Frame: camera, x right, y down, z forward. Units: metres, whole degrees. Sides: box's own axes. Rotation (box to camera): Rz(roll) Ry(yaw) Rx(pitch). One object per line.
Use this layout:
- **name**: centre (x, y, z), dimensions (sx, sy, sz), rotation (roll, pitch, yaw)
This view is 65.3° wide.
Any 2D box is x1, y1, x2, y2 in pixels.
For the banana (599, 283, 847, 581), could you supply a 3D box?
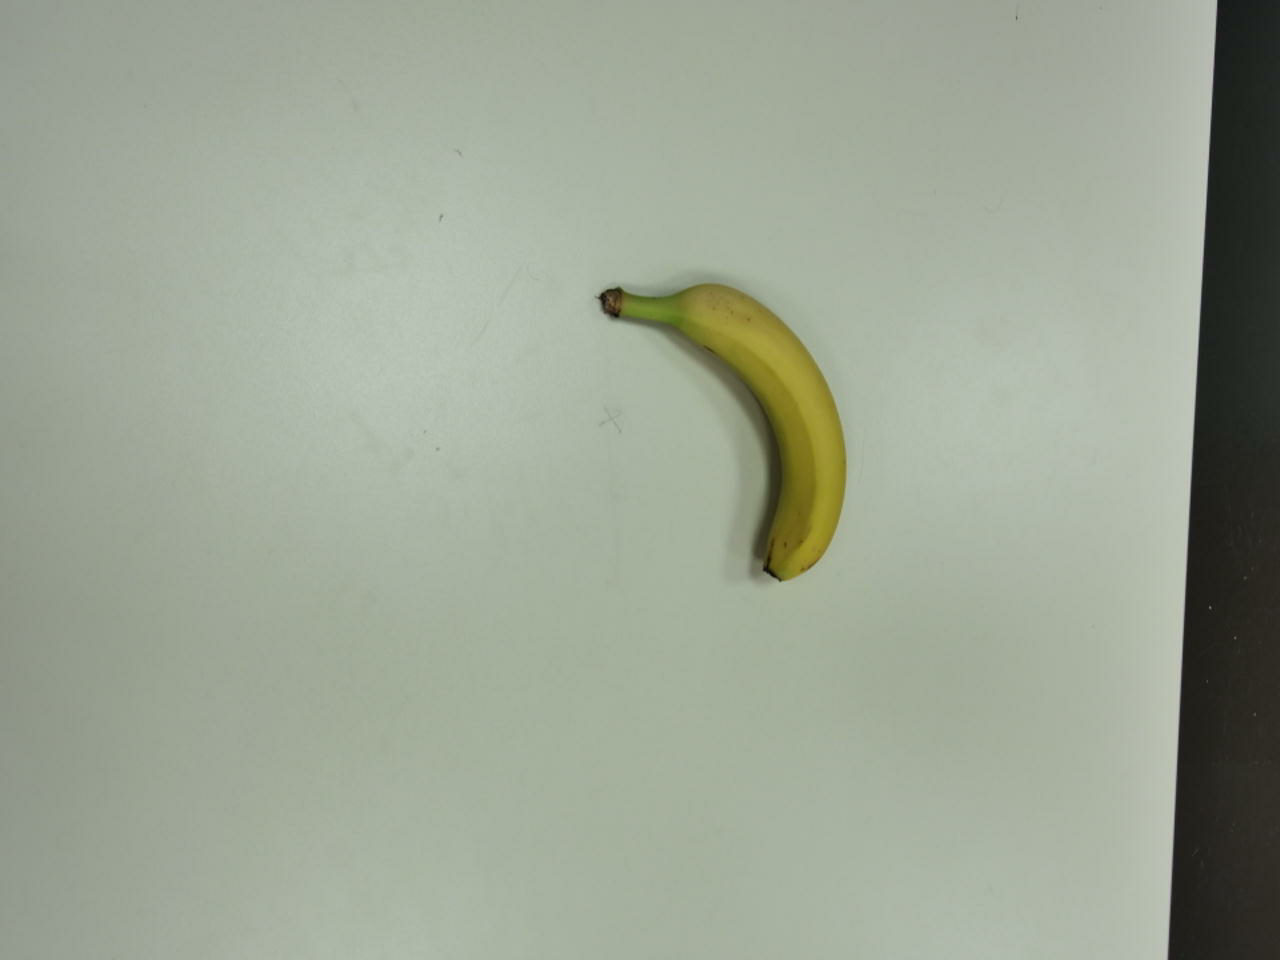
- **banana**: centre (0.066, -0.044, 0.580), dimensions (0.094, 0.041, 0.196), rotation (-33, 102, -18)
